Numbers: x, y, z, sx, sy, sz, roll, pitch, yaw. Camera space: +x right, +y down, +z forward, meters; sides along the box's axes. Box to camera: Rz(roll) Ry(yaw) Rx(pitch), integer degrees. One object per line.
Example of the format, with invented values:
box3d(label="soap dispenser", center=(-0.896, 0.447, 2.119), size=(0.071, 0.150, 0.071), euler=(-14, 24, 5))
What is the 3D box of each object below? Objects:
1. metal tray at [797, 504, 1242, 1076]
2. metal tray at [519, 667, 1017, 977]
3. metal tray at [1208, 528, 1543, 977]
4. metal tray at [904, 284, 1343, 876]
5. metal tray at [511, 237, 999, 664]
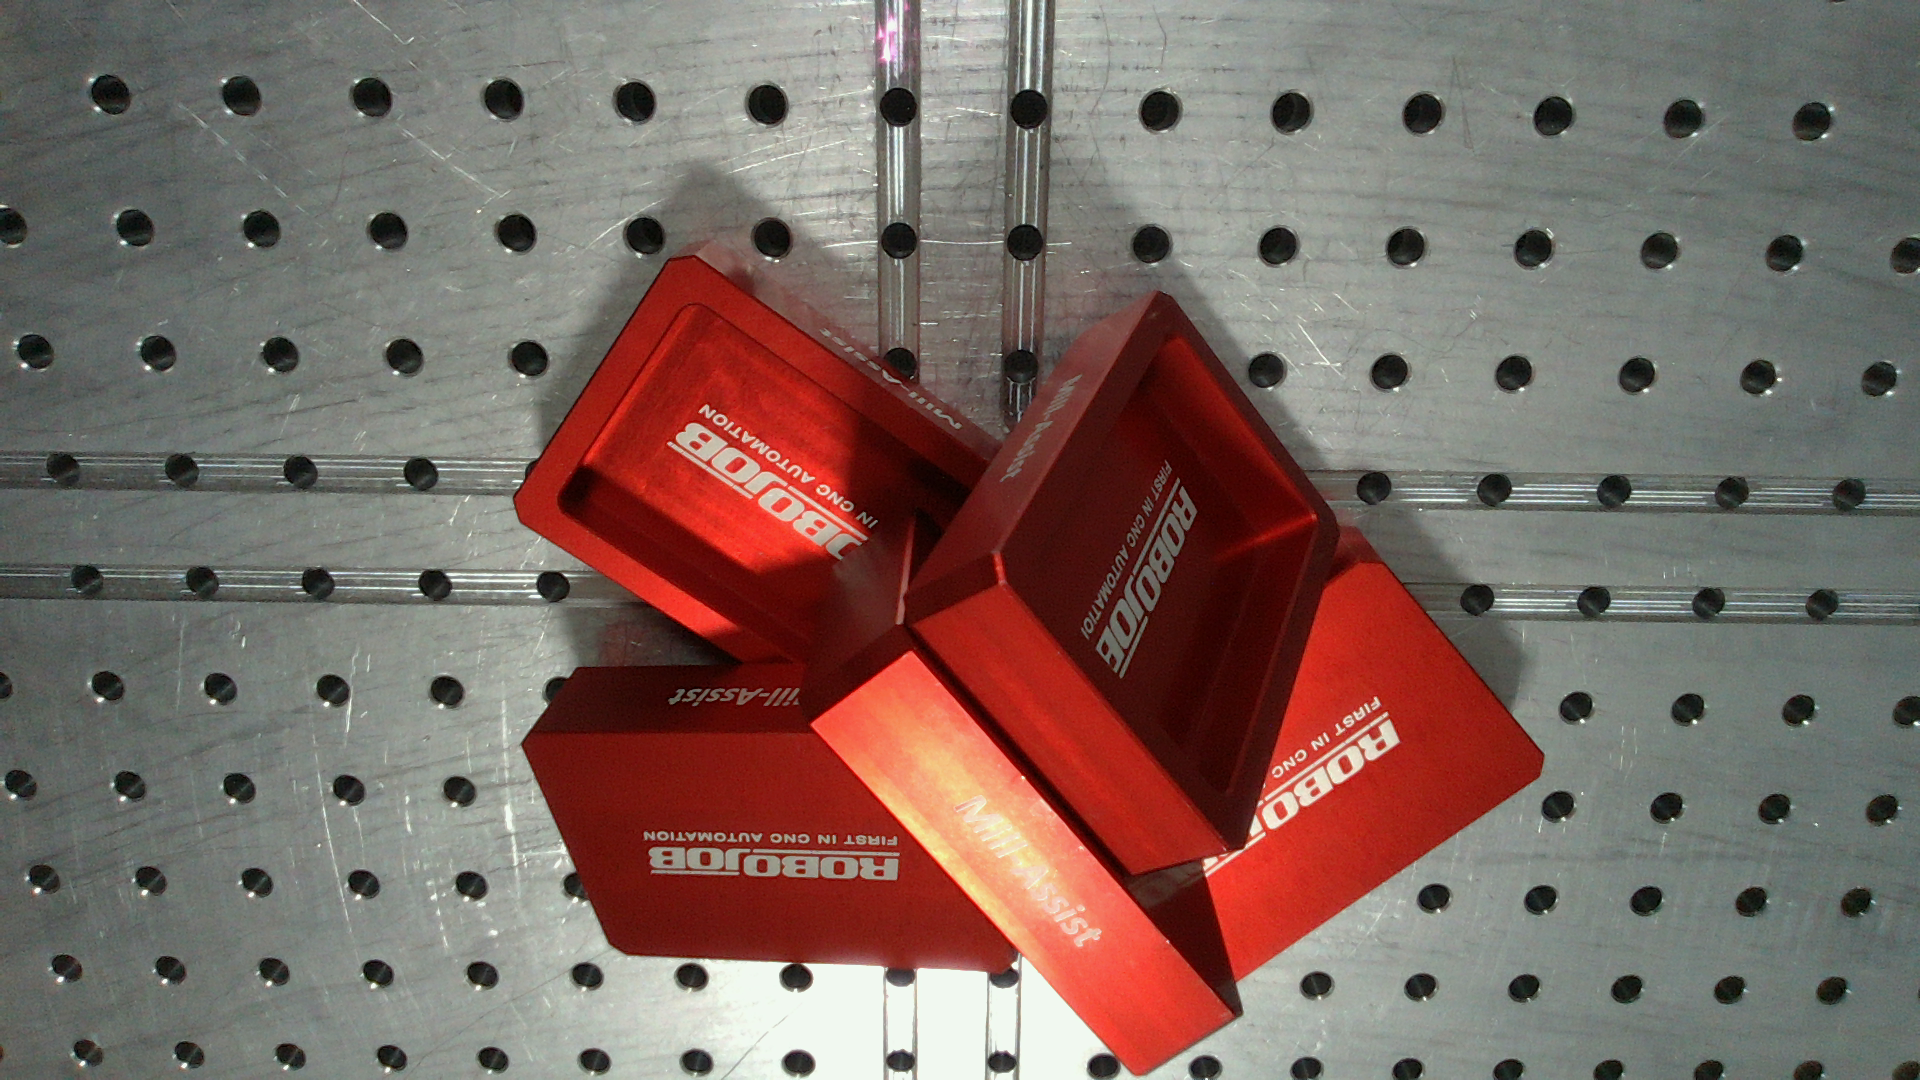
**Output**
box3d(label="metal tray", center=(0.016, 0.060, 0.351), size=(0.030, 0.090, 0.130), euler=(-36, 106, 13))
box3d(label="metal tray", center=(-0.051, 0.081, 0.398), size=(0.130, 0.030, 0.090), euler=(-2, 122, 16))
box3d(label="metal tray", center=(0.095, 0.070, 0.419), size=(0.130, 0.030, 0.090), euler=(-40, 106, 13))
box3d(label="metal tray", center=(0.048, 0.005, 0.343), size=(0.030, 0.130, 0.090), euler=(-27, 111, 39))
box3d(label="metal tray", center=(-0.046, -0.011, 0.389), size=(0.130, 0.030, 0.090), euler=(34, 107, -12))
